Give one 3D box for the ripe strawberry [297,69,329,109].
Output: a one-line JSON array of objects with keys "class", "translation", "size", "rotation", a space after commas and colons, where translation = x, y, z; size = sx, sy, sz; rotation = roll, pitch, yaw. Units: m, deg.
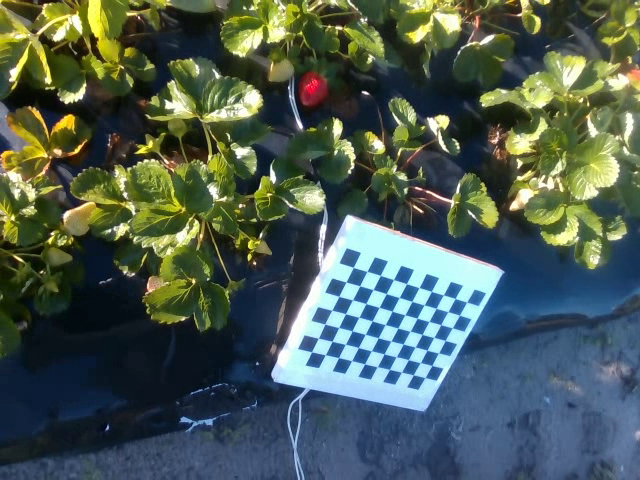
[{"class": "ripe strawberry", "translation": [-0.006, -0.244, 0.964], "size": [0.040, 0.080, 0.063], "rotation": [-10, -47, 39]}]
